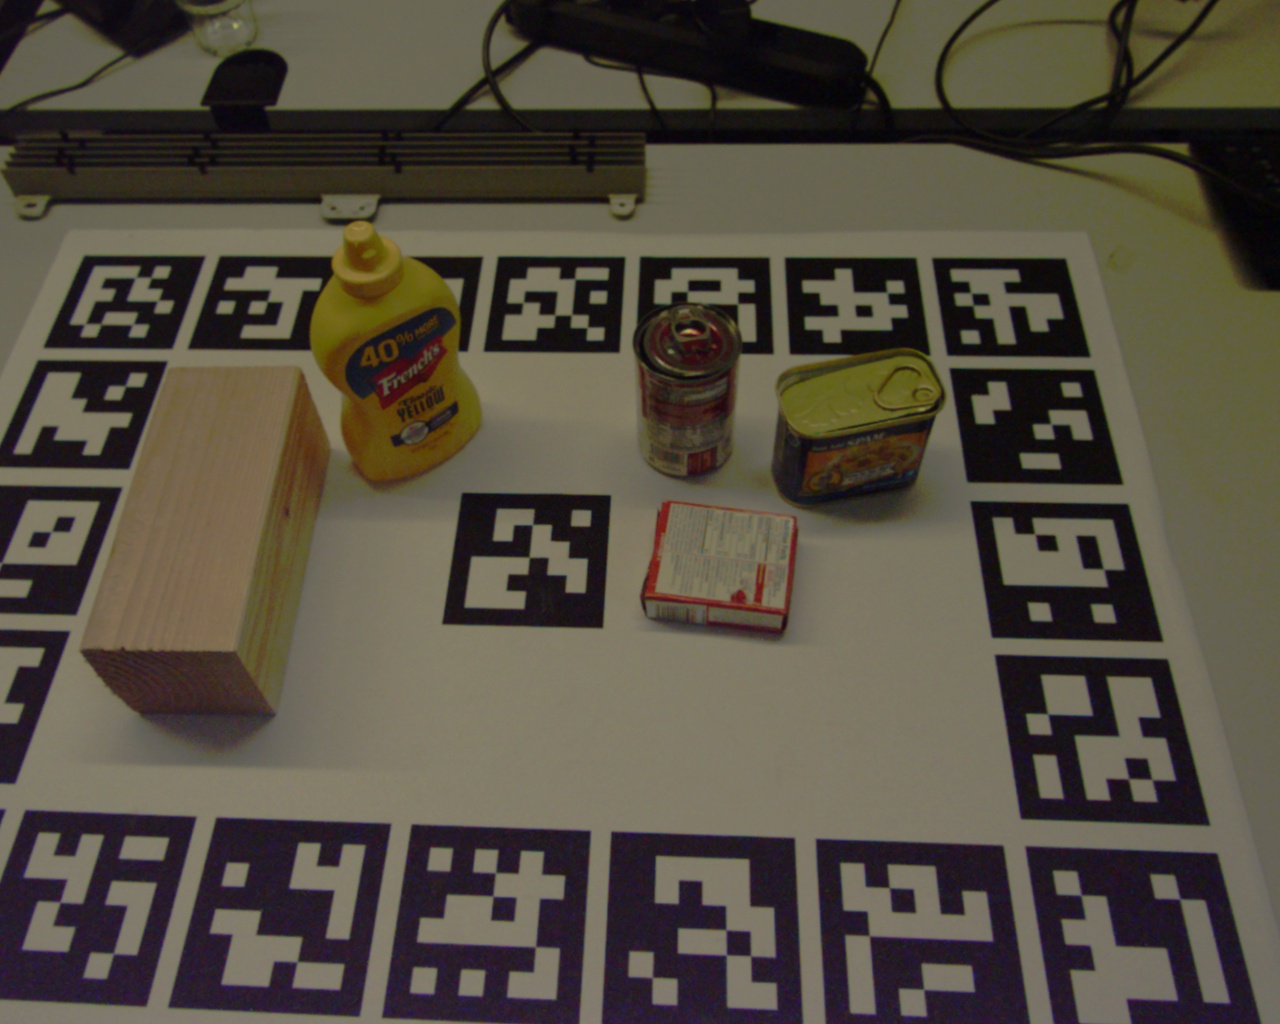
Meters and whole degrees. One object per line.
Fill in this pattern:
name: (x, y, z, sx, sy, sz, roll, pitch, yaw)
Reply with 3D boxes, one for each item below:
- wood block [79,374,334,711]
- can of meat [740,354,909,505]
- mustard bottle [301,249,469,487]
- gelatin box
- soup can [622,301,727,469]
wood block: (-0.271, 0.015, 0.740, 0.091, 0.089, 0.207, 2, 52, 1)
can of meat: (0.121, -0.054, 0.772, 0.101, 0.083, 0.058, -10, 57, -7)
mustard bottle: (-0.171, -0.097, 0.755, 0.096, 0.191, 0.059, -20, 57, -13)
gelatin box: (0.042, 0.036, 0.741, 0.090, 0.030, 0.073, 8, 59, 11)
soup can: (0.023, -0.084, 0.774, 0.068, 0.101, 0.068, -1, 58, 1)
